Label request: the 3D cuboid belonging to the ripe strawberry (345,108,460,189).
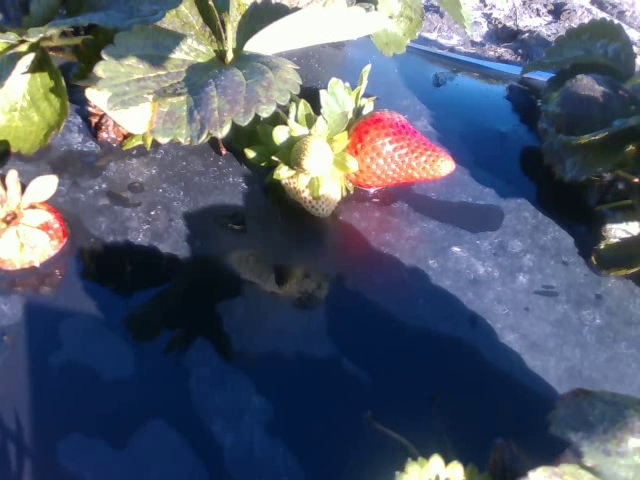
[{"bbox_3d":[0.041,-0.043,0.315,0.064,0.050,0.052,17,-9,14],"label":"ripe strawberry"}]
